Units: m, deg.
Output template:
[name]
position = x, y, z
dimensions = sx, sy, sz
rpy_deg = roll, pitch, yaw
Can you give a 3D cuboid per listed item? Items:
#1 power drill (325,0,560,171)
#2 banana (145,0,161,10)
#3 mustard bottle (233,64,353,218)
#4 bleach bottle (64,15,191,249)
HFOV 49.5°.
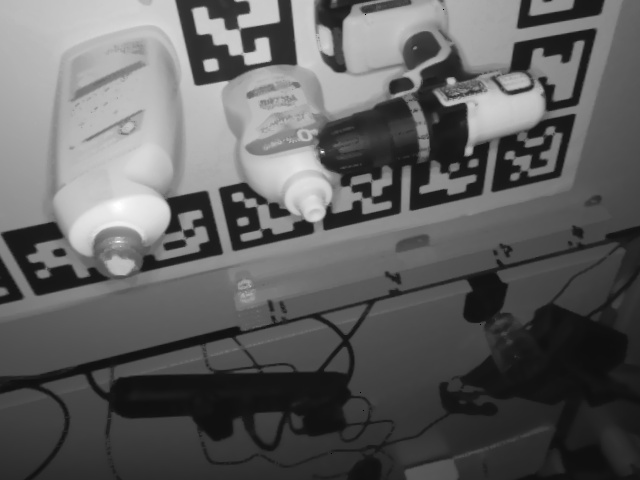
[power drill]
position = 0.081, -0.139, 0.577
dimensions = 0.185, 0.188, 0.057
rpy_deg = -12, 140, -4
[banana]
position = -0.050, -0.238, 0.572
dimensions = 0.199, 0.039, 0.073
rpy_deg = -11, 129, -12
[mustard bottle]
position = -0.019, -0.086, 0.616
dimensions = 0.097, 0.192, 0.058
rpy_deg = -10, 134, -7
[bleach bottle]
position = -0.144, -0.088, 0.542
dimensions = 0.103, 0.251, 0.067
rpy_deg = -18, 133, -2
